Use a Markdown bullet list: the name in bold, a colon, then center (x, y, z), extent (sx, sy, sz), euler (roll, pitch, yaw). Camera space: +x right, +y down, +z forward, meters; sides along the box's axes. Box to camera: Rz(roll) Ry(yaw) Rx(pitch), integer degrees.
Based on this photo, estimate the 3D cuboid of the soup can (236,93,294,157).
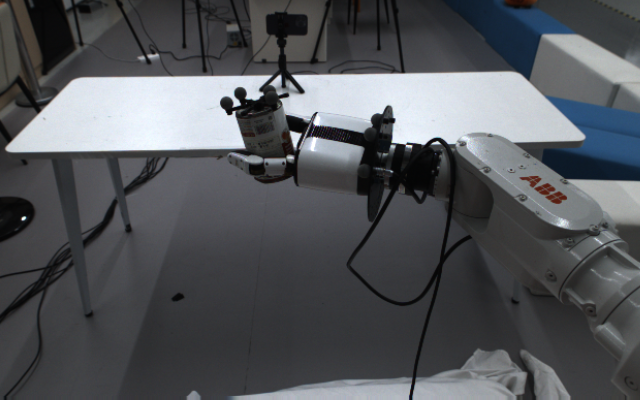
- **soup can**: center (-0.072, -0.083, 0.678), extent (0.067, 0.101, 0.067), euler (-11, 28, 6)
